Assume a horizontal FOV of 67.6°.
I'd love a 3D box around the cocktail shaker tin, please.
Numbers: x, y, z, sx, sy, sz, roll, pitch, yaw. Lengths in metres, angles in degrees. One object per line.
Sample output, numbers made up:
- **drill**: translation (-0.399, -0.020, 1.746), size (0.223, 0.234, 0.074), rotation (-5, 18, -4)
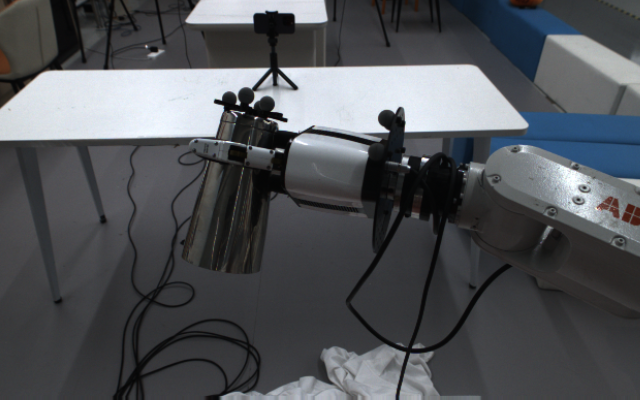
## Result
- **cocktail shaker tin**: translation (-0.095, -0.013, 0.559), size (0.093, 0.170, 0.093), rotation (12, 3, -1)
